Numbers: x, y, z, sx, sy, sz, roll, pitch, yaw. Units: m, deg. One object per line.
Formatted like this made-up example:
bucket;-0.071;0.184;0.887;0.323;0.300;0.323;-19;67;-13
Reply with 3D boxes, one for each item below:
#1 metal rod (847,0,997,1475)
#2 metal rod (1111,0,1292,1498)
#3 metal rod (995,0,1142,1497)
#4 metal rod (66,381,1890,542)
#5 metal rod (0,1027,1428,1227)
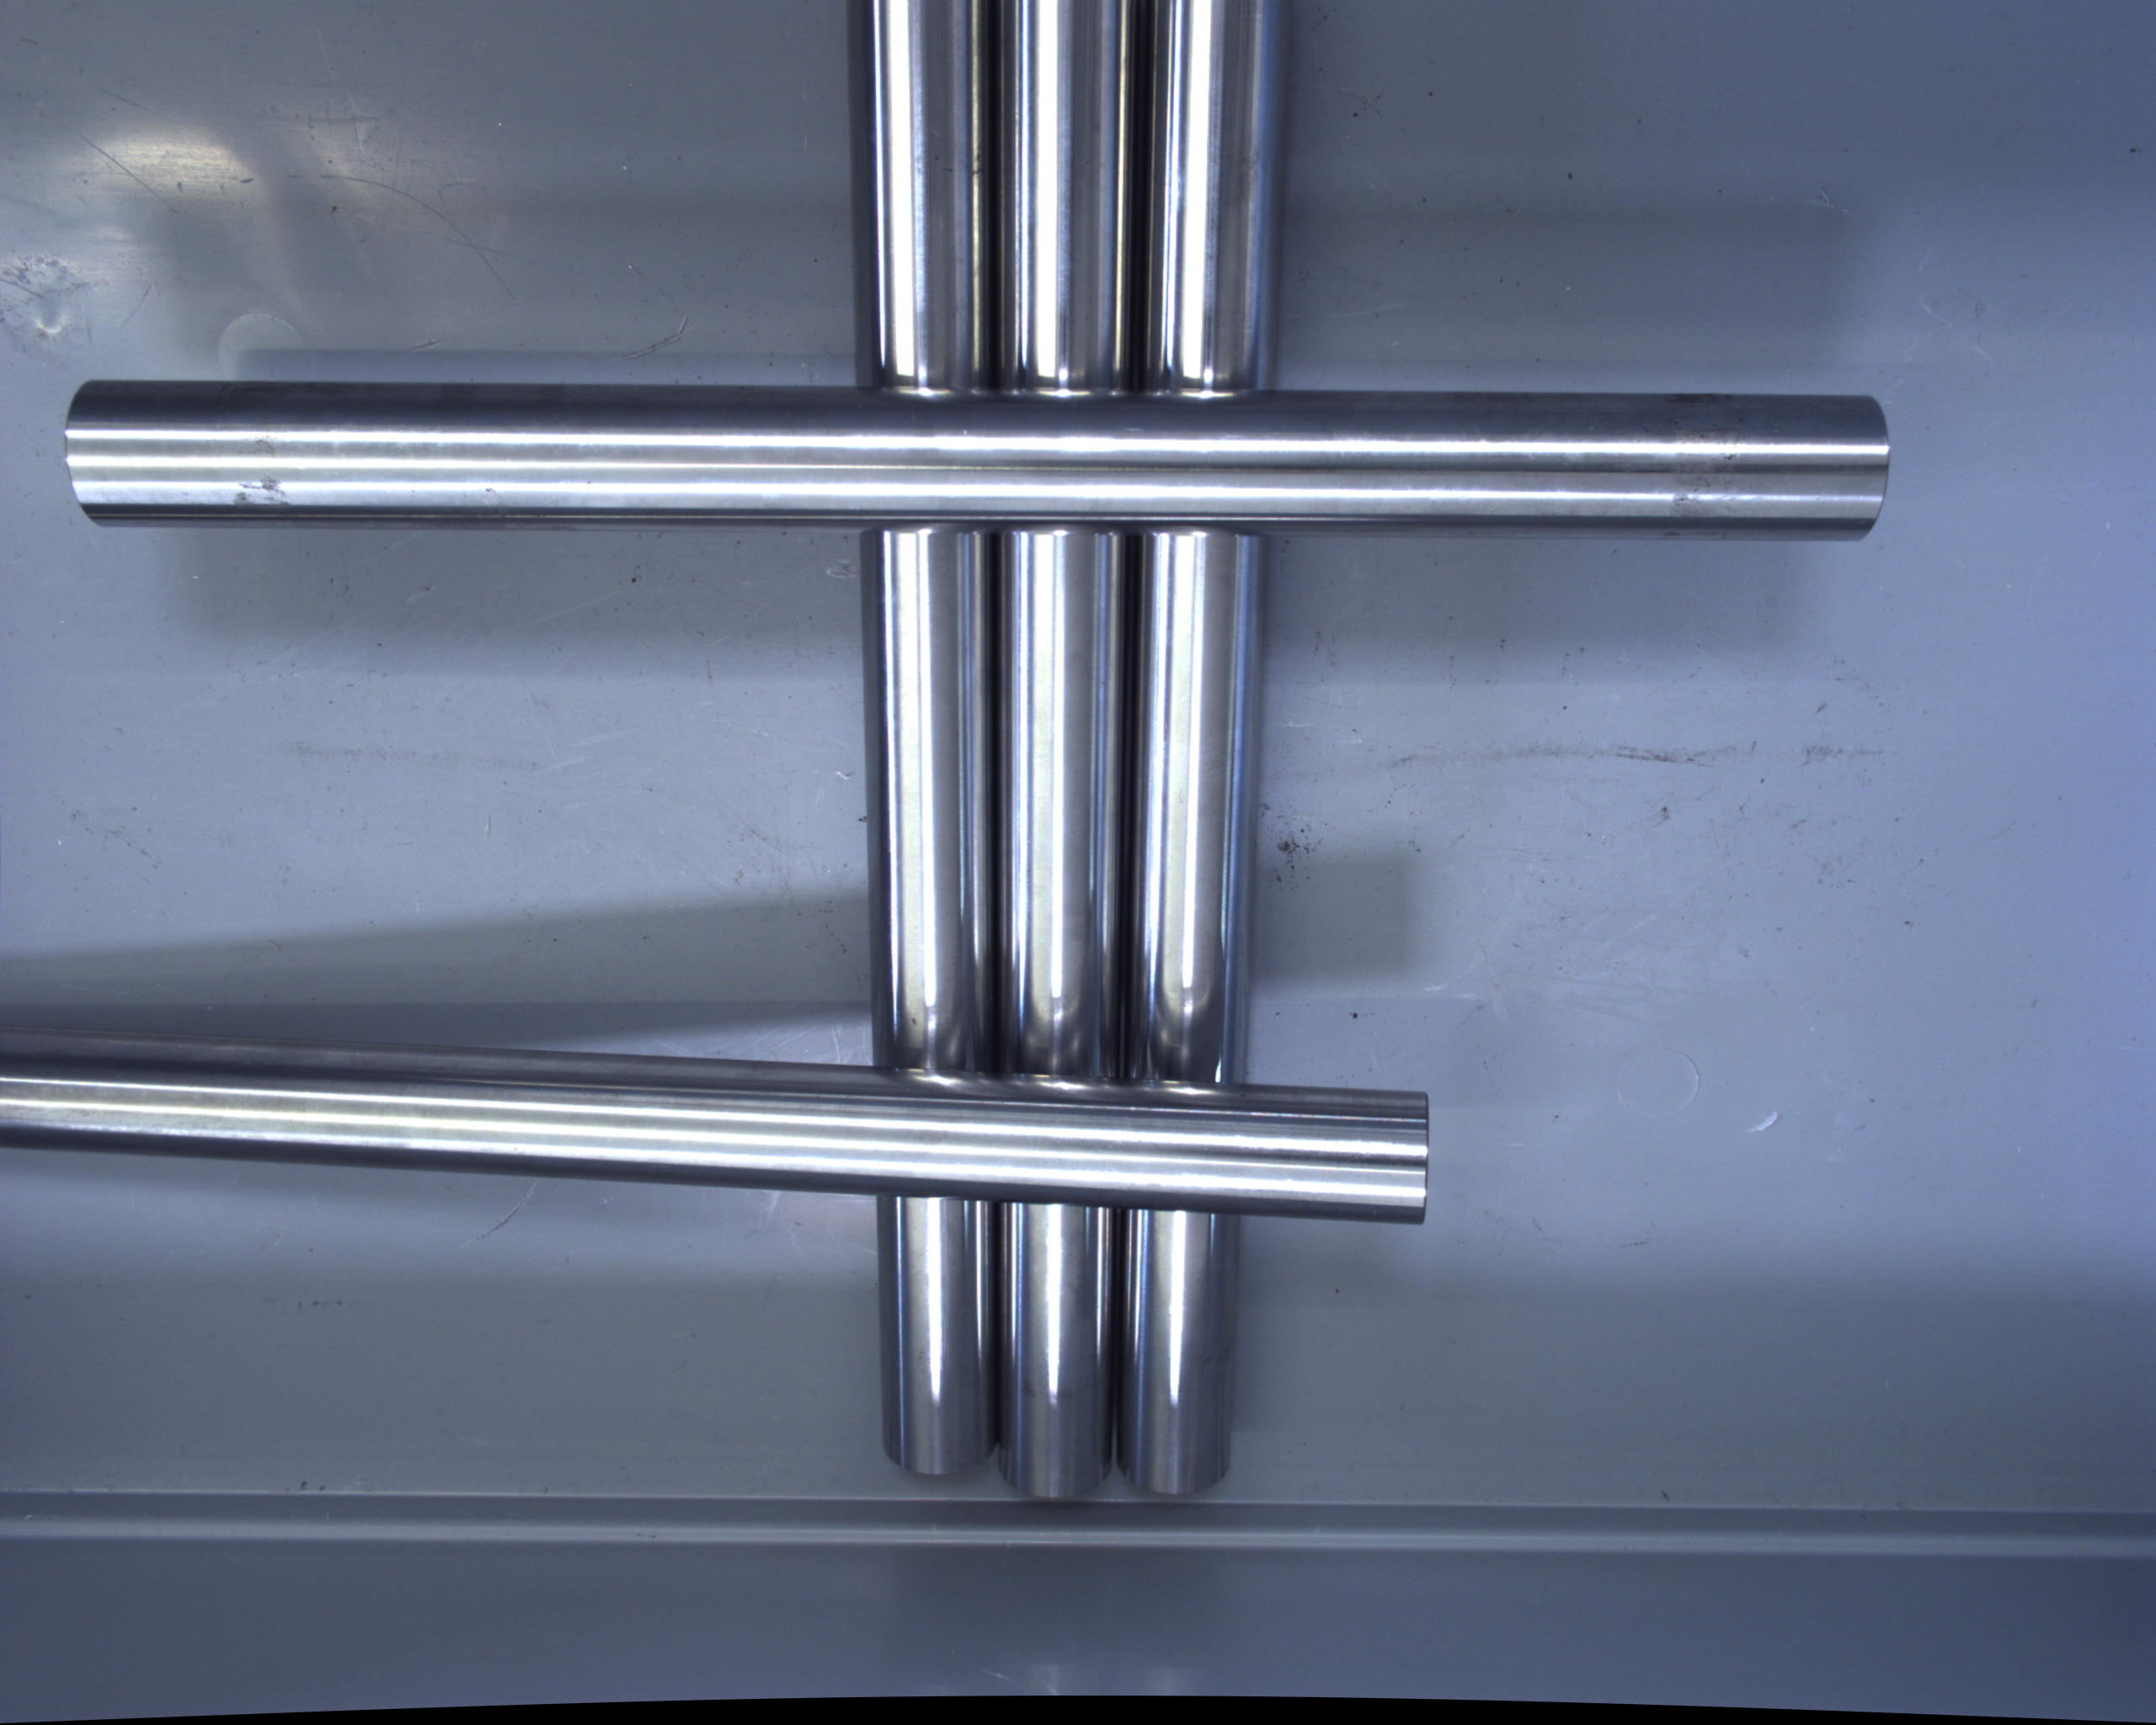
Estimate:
metal rod;-0.028;-0.013;0.405;0.025;0.025;0.298;0;110;0
metal rod;0.022;-0.008;0.406;0.025;0.025;0.298;1;110;0
metal rod;-0.004;-0.008;0.407;0.025;0.025;0.298;1;110;0
metal rod;-0.016;-0.069;0.358;0.302;0.025;0.025;0;110;0
metal rod;-0.085;0.050;0.409;0.302;0.025;0.025;2;110;6
